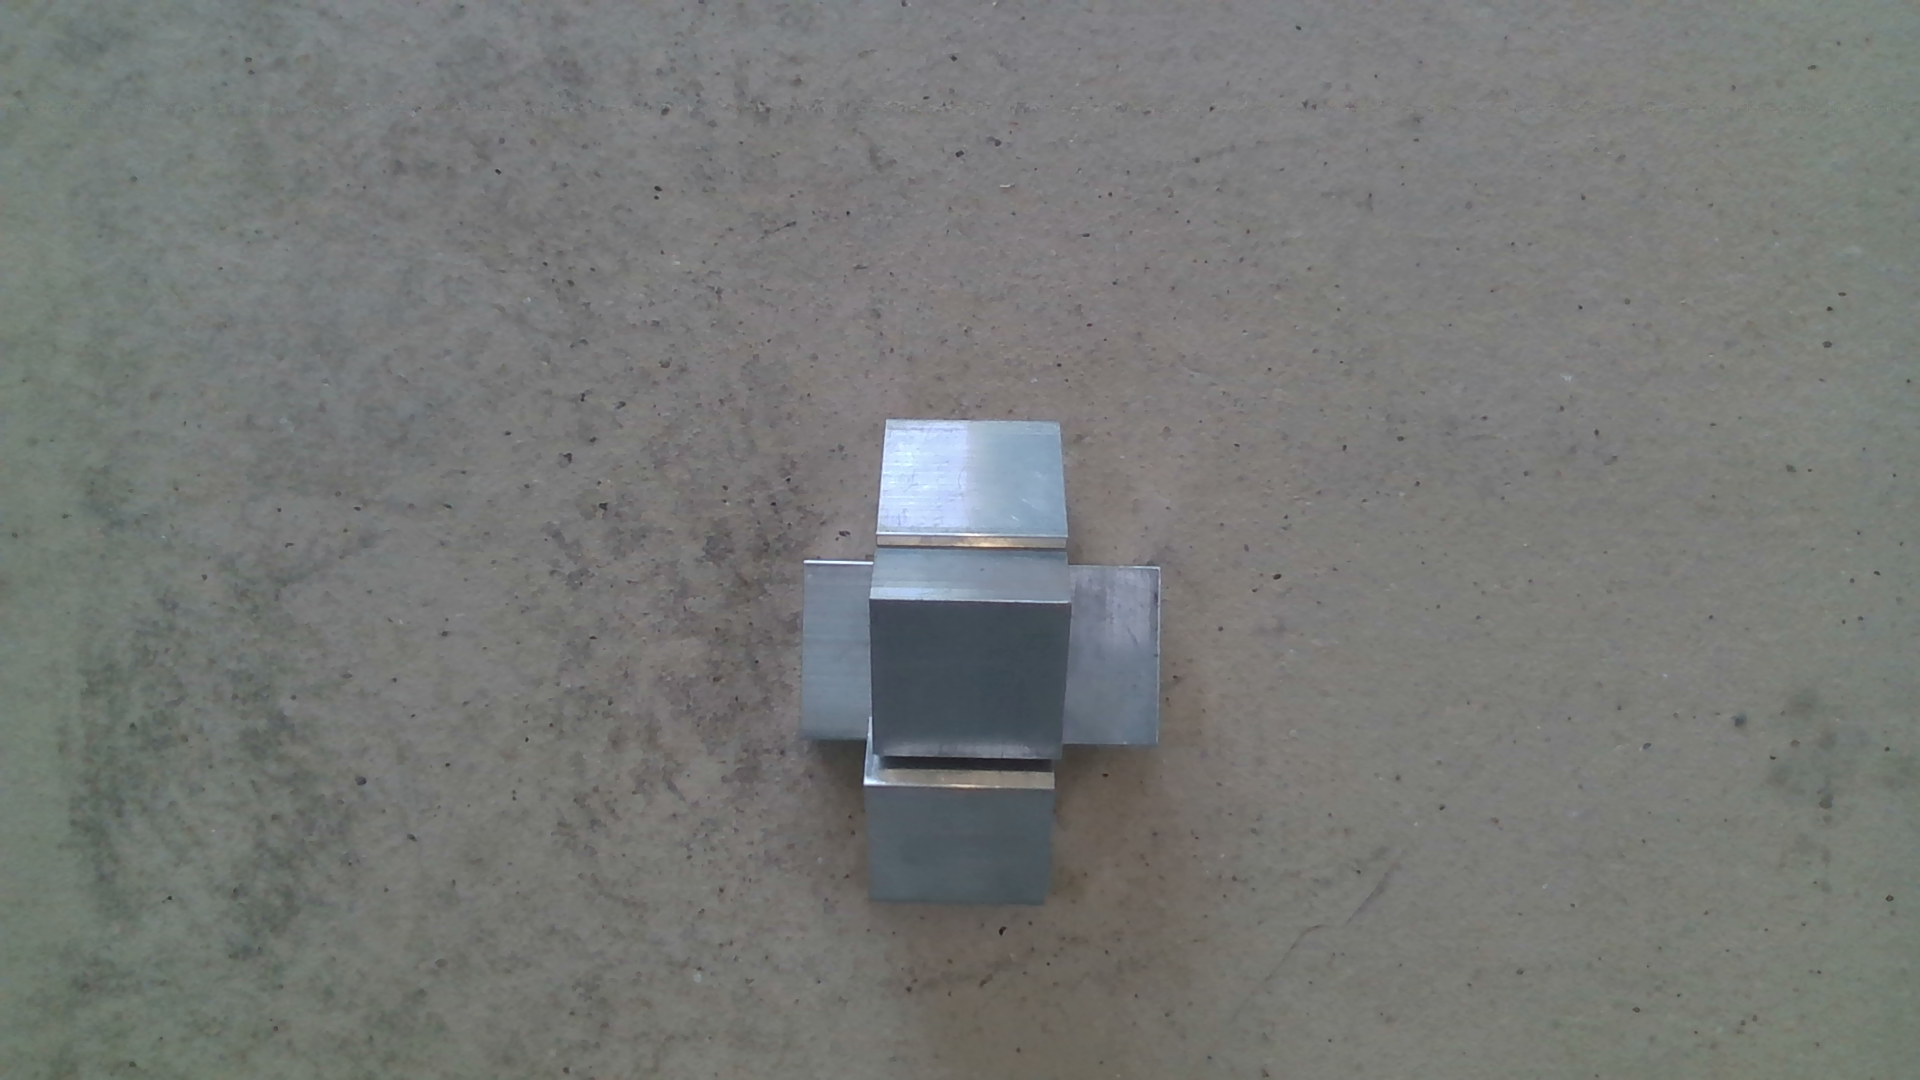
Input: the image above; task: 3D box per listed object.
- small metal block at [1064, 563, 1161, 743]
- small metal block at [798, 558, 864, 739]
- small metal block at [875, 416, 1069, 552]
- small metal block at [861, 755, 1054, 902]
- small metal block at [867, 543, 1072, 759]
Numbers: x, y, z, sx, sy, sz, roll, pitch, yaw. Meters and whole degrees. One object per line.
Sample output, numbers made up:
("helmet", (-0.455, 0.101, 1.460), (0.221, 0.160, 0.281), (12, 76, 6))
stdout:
("small metal block", (0.031, 0.031, 0.395), (0.050, 0.025, 0.050), (1, 90, 0))
("small metal block", (-0.020, 0.030, 0.395), (0.050, 0.025, 0.050), (1, 90, 0))
("small metal block", (0.003, -0.009, 0.382), (0.050, 0.050, 0.025), (1, 132, 0))
("small metal block", (-0.001, 0.075, 0.383), (0.050, 0.025, 0.050), (1, 130, 0))
("small metal block", (0.002, 0.029, 0.359), (0.050, 0.025, 0.050), (1, 121, 0))
